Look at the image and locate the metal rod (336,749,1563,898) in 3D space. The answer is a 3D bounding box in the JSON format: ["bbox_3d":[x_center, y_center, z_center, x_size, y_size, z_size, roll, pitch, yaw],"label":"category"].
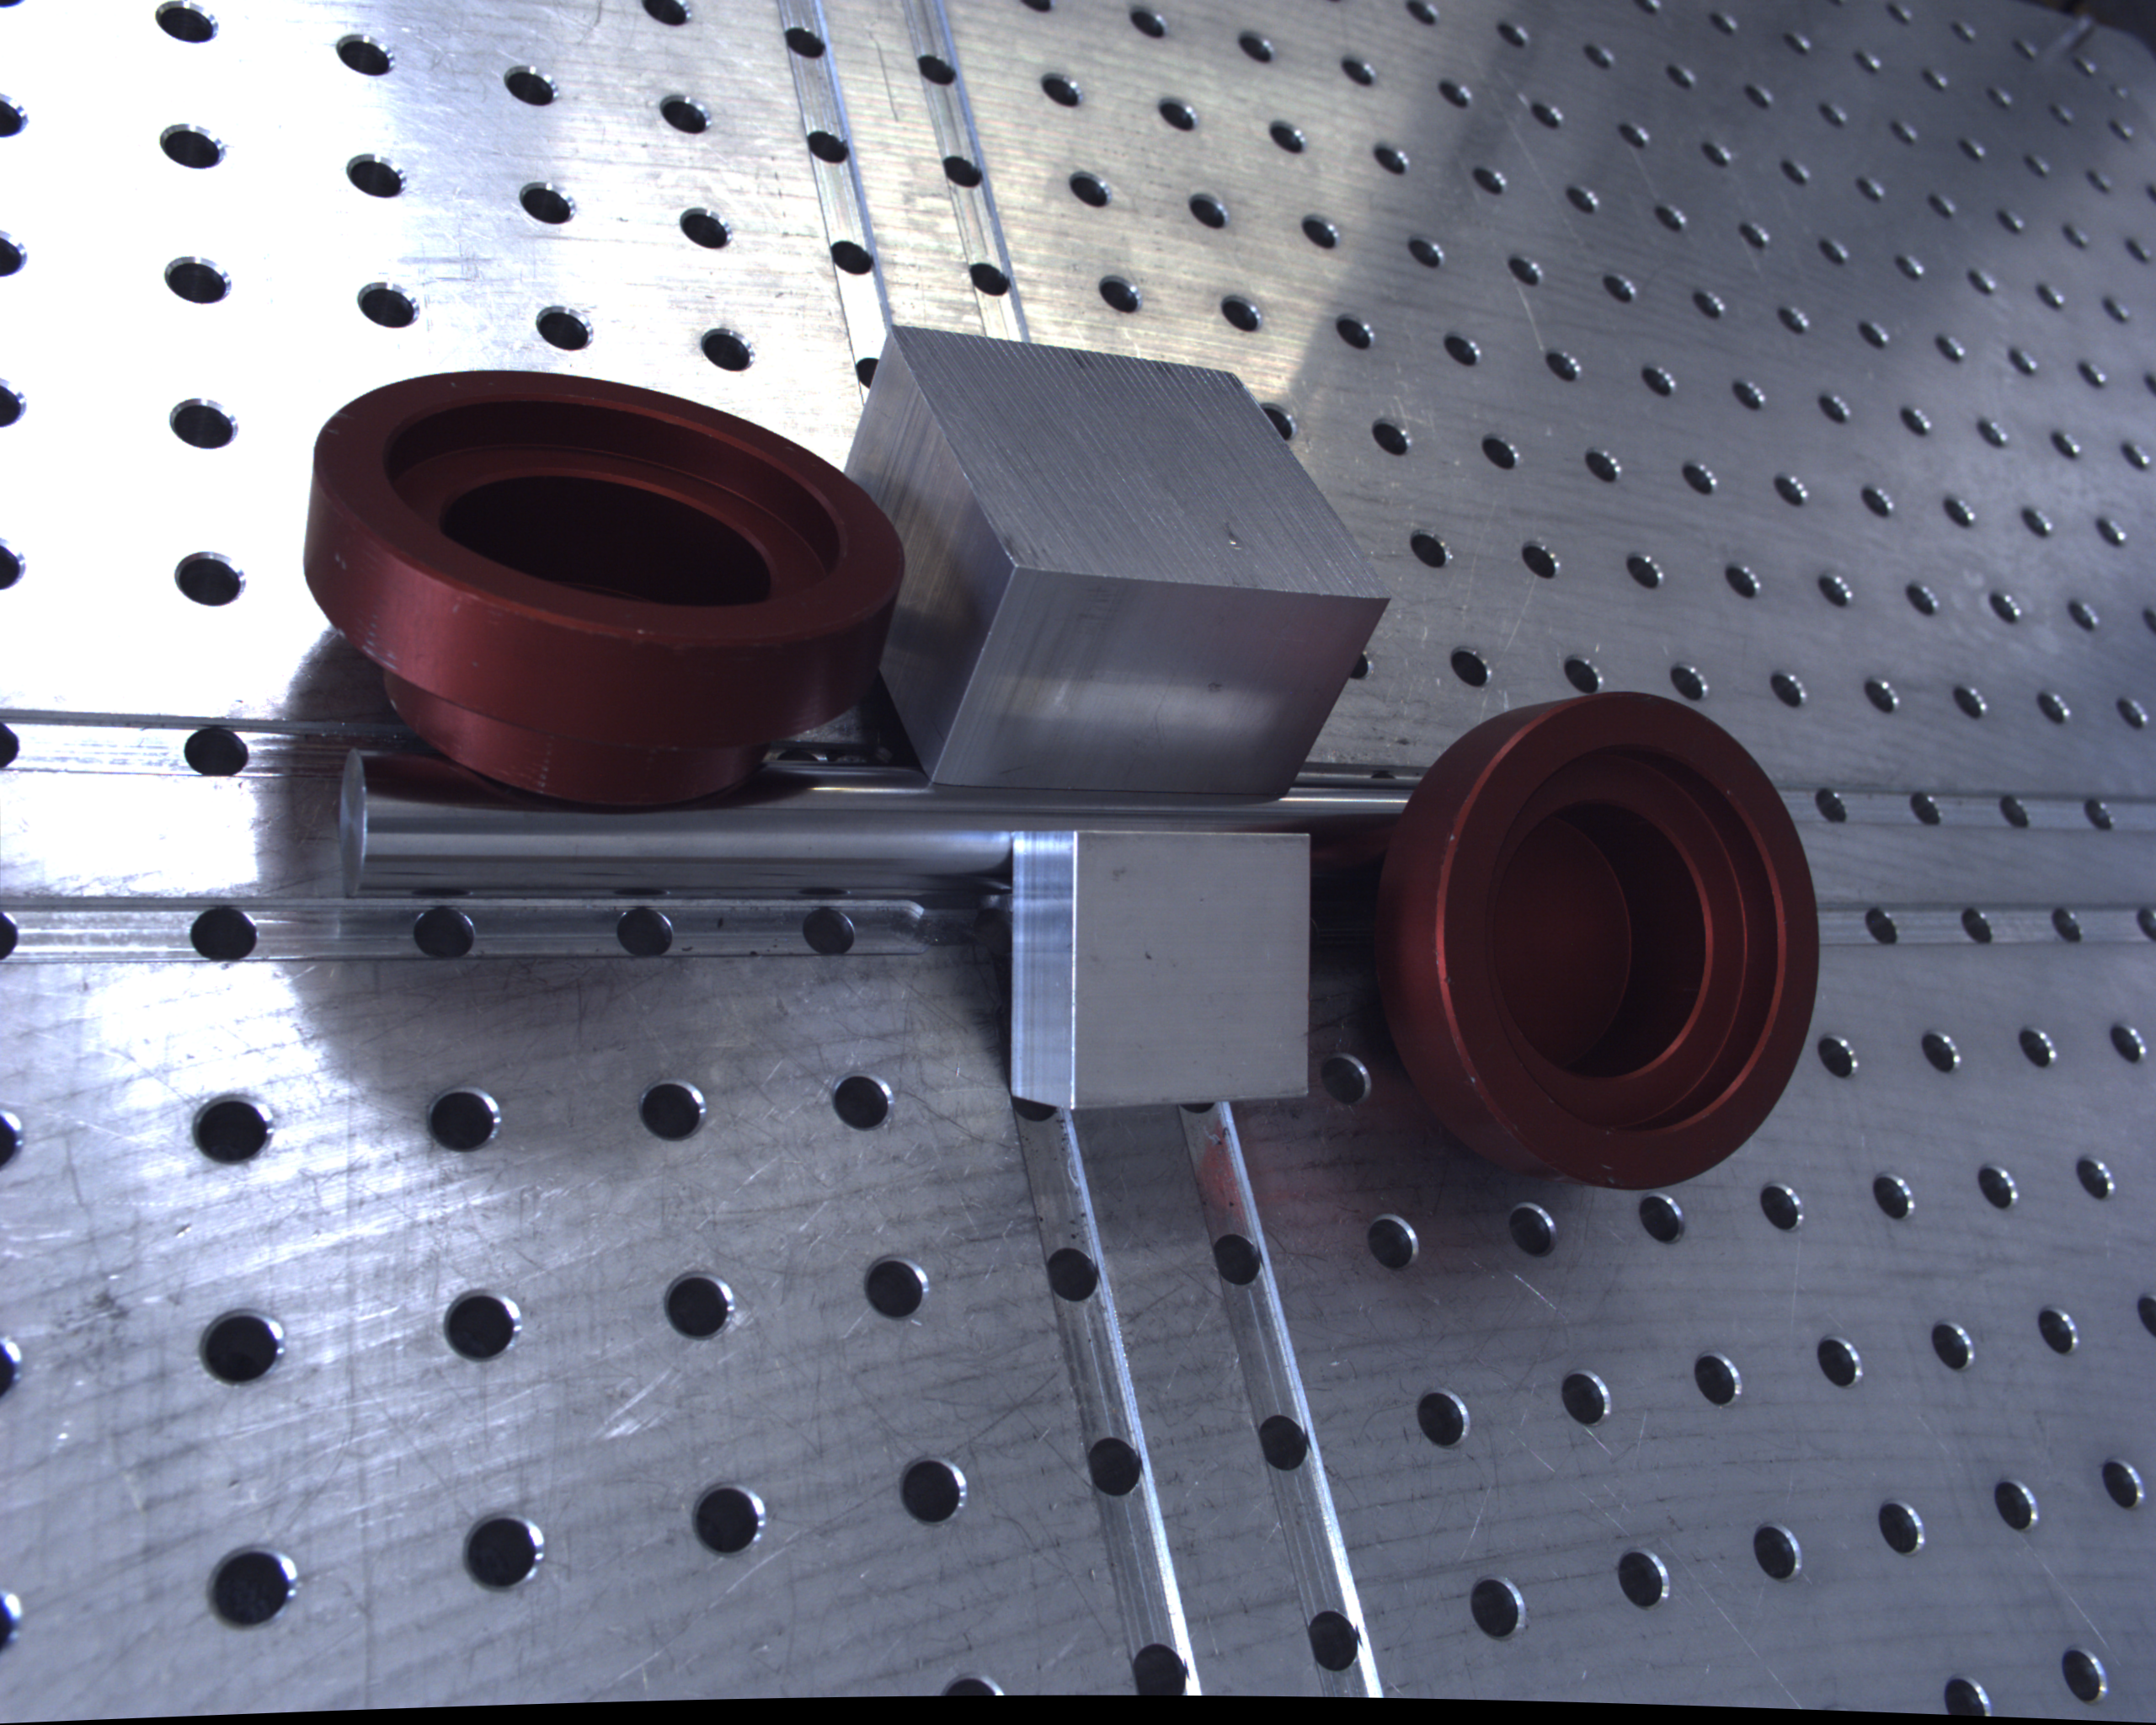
[{"bbox_3d":[0.012,-0.006,0.419,0.303,0.025,0.025,0,62,-28],"label":"metal rod"}]

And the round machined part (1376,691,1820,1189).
[{"bbox_3d":[0.101,0.016,0.426,0.099,0.042,0.097,2,86,-28],"label":"round machined part"}]

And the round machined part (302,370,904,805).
[{"bbox_3d":[-0.083,-0.046,0.364,0.099,0.042,0.098,14,31,-8],"label":"round machined part"}]

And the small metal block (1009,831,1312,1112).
[{"bbox_3d":[0.016,0.019,0.392,0.050,0.025,0.050,1,90,-28],"label":"small metal block"}]

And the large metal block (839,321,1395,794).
[{"bbox_3d":[0.003,-0.060,0.415,0.081,0.050,0.080,1,43,-28],"label":"large metal block"}]
